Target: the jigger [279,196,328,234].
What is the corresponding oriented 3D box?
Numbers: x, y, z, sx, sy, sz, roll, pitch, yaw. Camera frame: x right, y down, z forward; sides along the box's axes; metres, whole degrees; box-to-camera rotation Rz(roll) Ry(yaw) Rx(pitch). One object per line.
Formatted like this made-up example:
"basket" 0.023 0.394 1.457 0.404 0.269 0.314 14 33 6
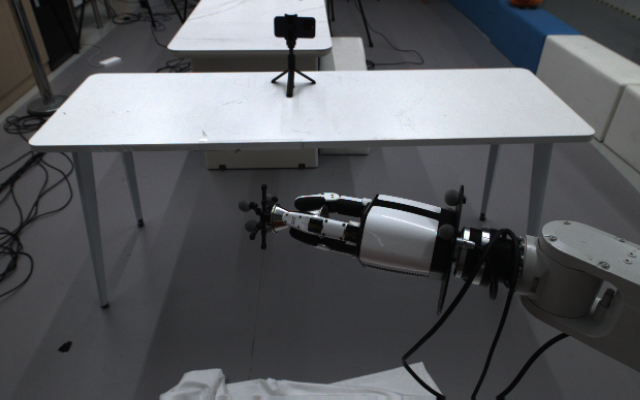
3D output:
"jigger" -0.019 0.022 0.639 0.071 0.043 0.043 3 34 17
